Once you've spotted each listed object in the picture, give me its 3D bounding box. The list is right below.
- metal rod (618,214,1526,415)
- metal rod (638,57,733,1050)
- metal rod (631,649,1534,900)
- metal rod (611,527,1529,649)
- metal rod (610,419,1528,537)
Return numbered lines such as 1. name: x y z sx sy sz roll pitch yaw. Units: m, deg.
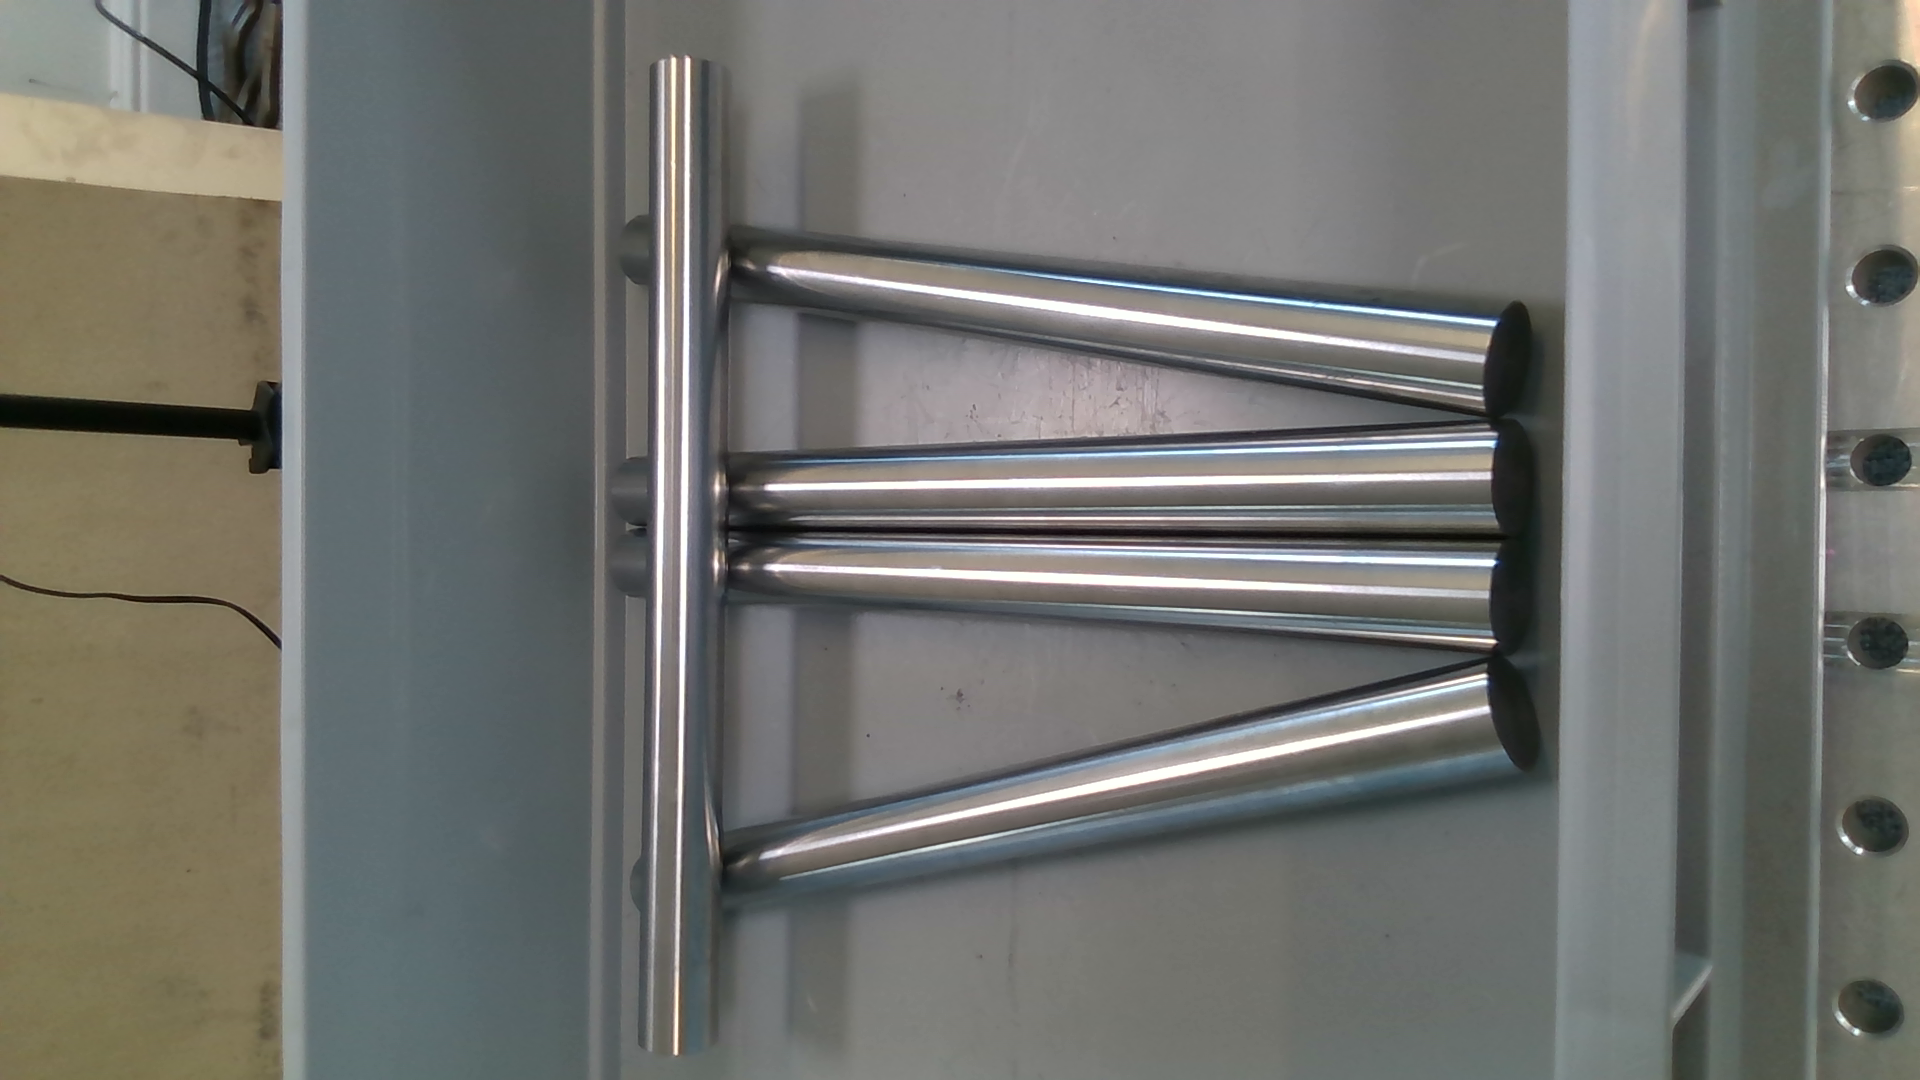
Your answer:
1. metal rod: 0.003 -0.070 0.387 0.300 0.025 0.025 16 100 39
2. metal rod: -0.085 0.005 0.428 0.025 0.025 0.300 2 92 40
3. metal rod: 0.006 0.076 0.385 0.300 0.025 0.025 -20 77 38
4. metal rod: 0.002 0.009 0.388 0.300 0.025 0.025 1 91 40
5. metal rod: 0.002 -0.015 0.388 0.300 0.025 0.025 1 91 40
